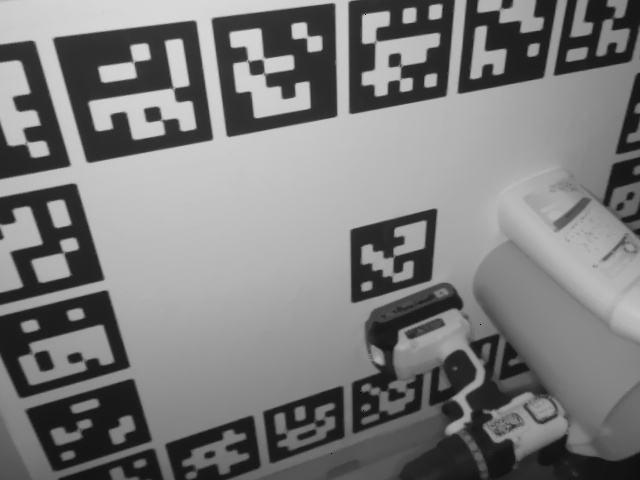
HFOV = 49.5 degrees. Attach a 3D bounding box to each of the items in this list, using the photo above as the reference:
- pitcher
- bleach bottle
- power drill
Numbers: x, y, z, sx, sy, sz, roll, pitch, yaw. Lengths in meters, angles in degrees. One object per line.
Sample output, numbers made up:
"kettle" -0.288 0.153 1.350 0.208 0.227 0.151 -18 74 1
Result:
"pitcher" 0.328 0.112 0.745 0.189 0.242 0.133 -37 125 -1
"bleach bottle" 0.339 0.034 0.679 0.103 0.250 0.067 -21 125 -12
"power drill" 0.169 0.164 0.714 0.186 0.187 0.057 -16 121 -8
